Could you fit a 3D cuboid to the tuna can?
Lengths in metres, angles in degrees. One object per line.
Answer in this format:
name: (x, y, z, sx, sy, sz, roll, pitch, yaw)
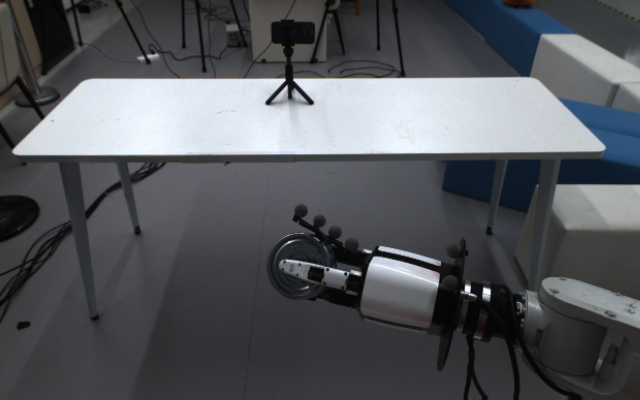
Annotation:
tuna can: (-0.020, 0.090, 0.614, 0.085, 0.085, 0.034, 13, -4, 15)
